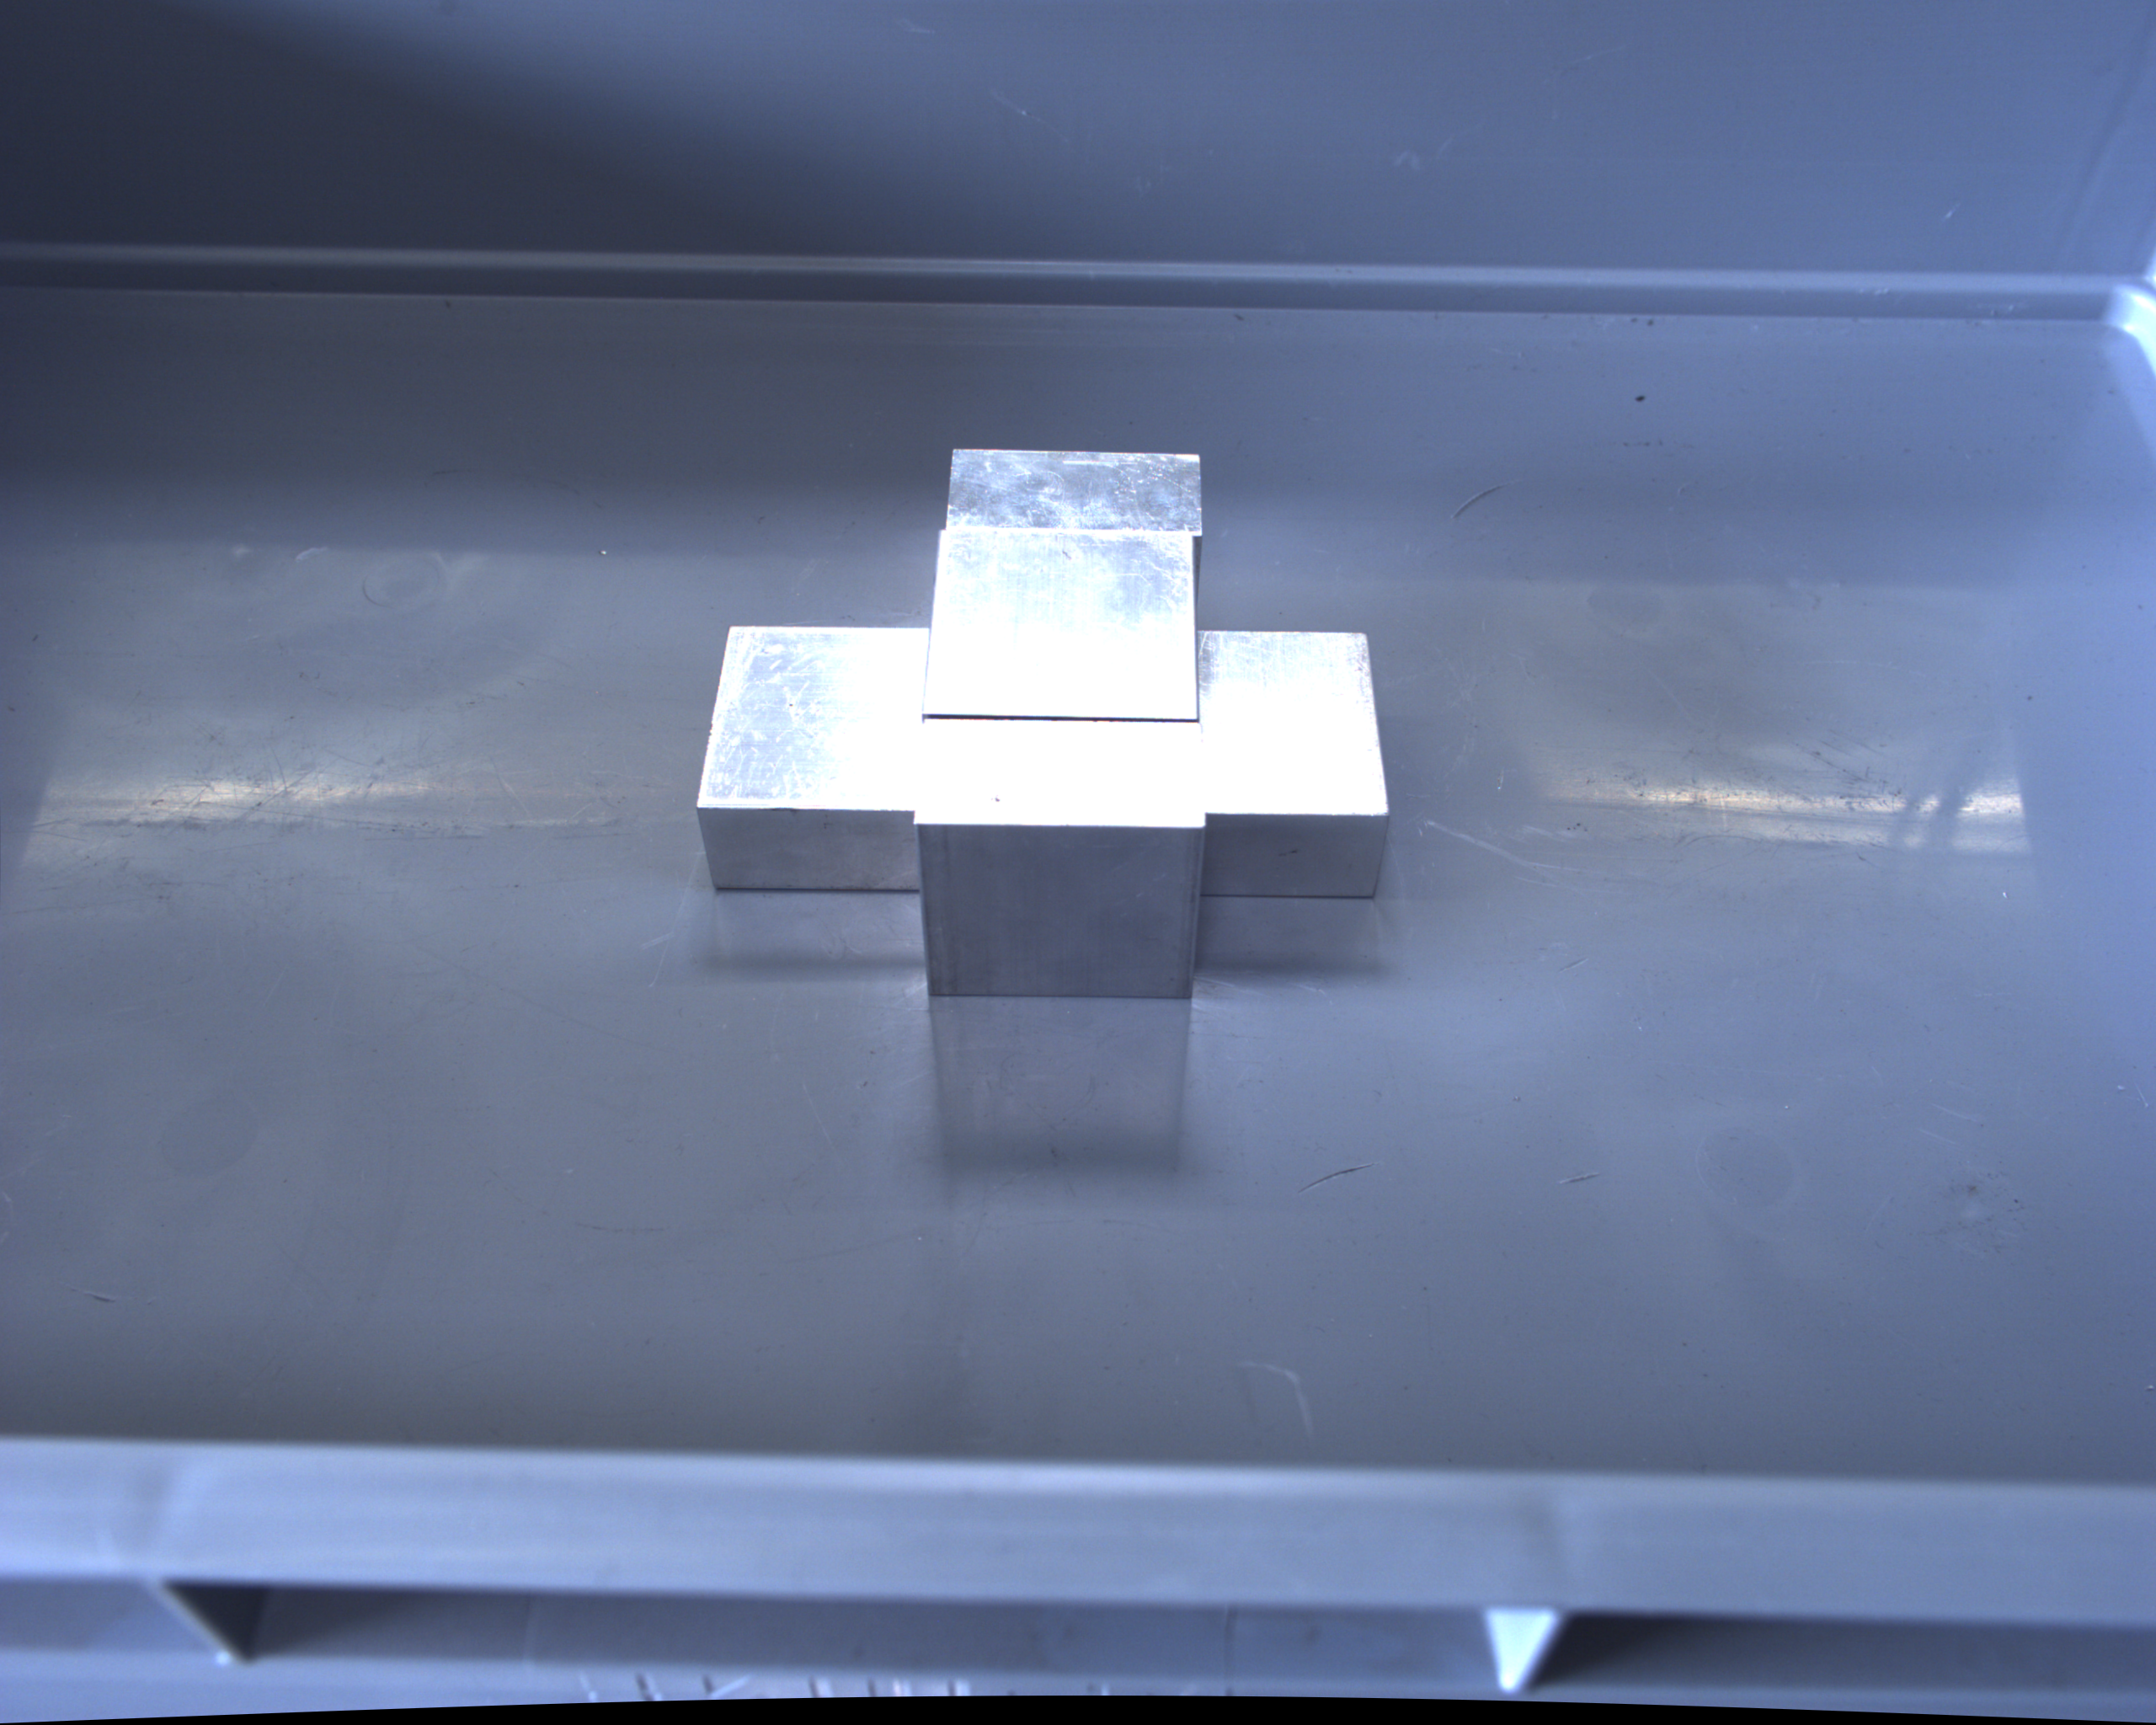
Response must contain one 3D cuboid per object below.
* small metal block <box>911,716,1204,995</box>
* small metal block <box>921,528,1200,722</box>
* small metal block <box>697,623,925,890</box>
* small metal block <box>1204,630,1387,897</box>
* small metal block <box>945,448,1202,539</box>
[{"bbox_3d":[-0.003,-0.001,0.385,0.050,0.050,0.025,1,50,0],"label":"small metal block"},{"bbox_3d":[-0.003,-0.038,0.401,0.050,0.025,0.050,1,50,0],"label":"small metal block"},{"bbox_3d":[-0.047,-0.022,0.420,0.050,0.025,0.050,1,50,0],"label":"small metal block"},{"bbox_3d":[0.034,-0.020,0.420,0.050,0.025,0.050,1,50,0],"label":"small metal block"},{"bbox_3d":[-0.001,-0.059,0.435,0.050,0.050,0.025,1,50,0],"label":"small metal block"}]
